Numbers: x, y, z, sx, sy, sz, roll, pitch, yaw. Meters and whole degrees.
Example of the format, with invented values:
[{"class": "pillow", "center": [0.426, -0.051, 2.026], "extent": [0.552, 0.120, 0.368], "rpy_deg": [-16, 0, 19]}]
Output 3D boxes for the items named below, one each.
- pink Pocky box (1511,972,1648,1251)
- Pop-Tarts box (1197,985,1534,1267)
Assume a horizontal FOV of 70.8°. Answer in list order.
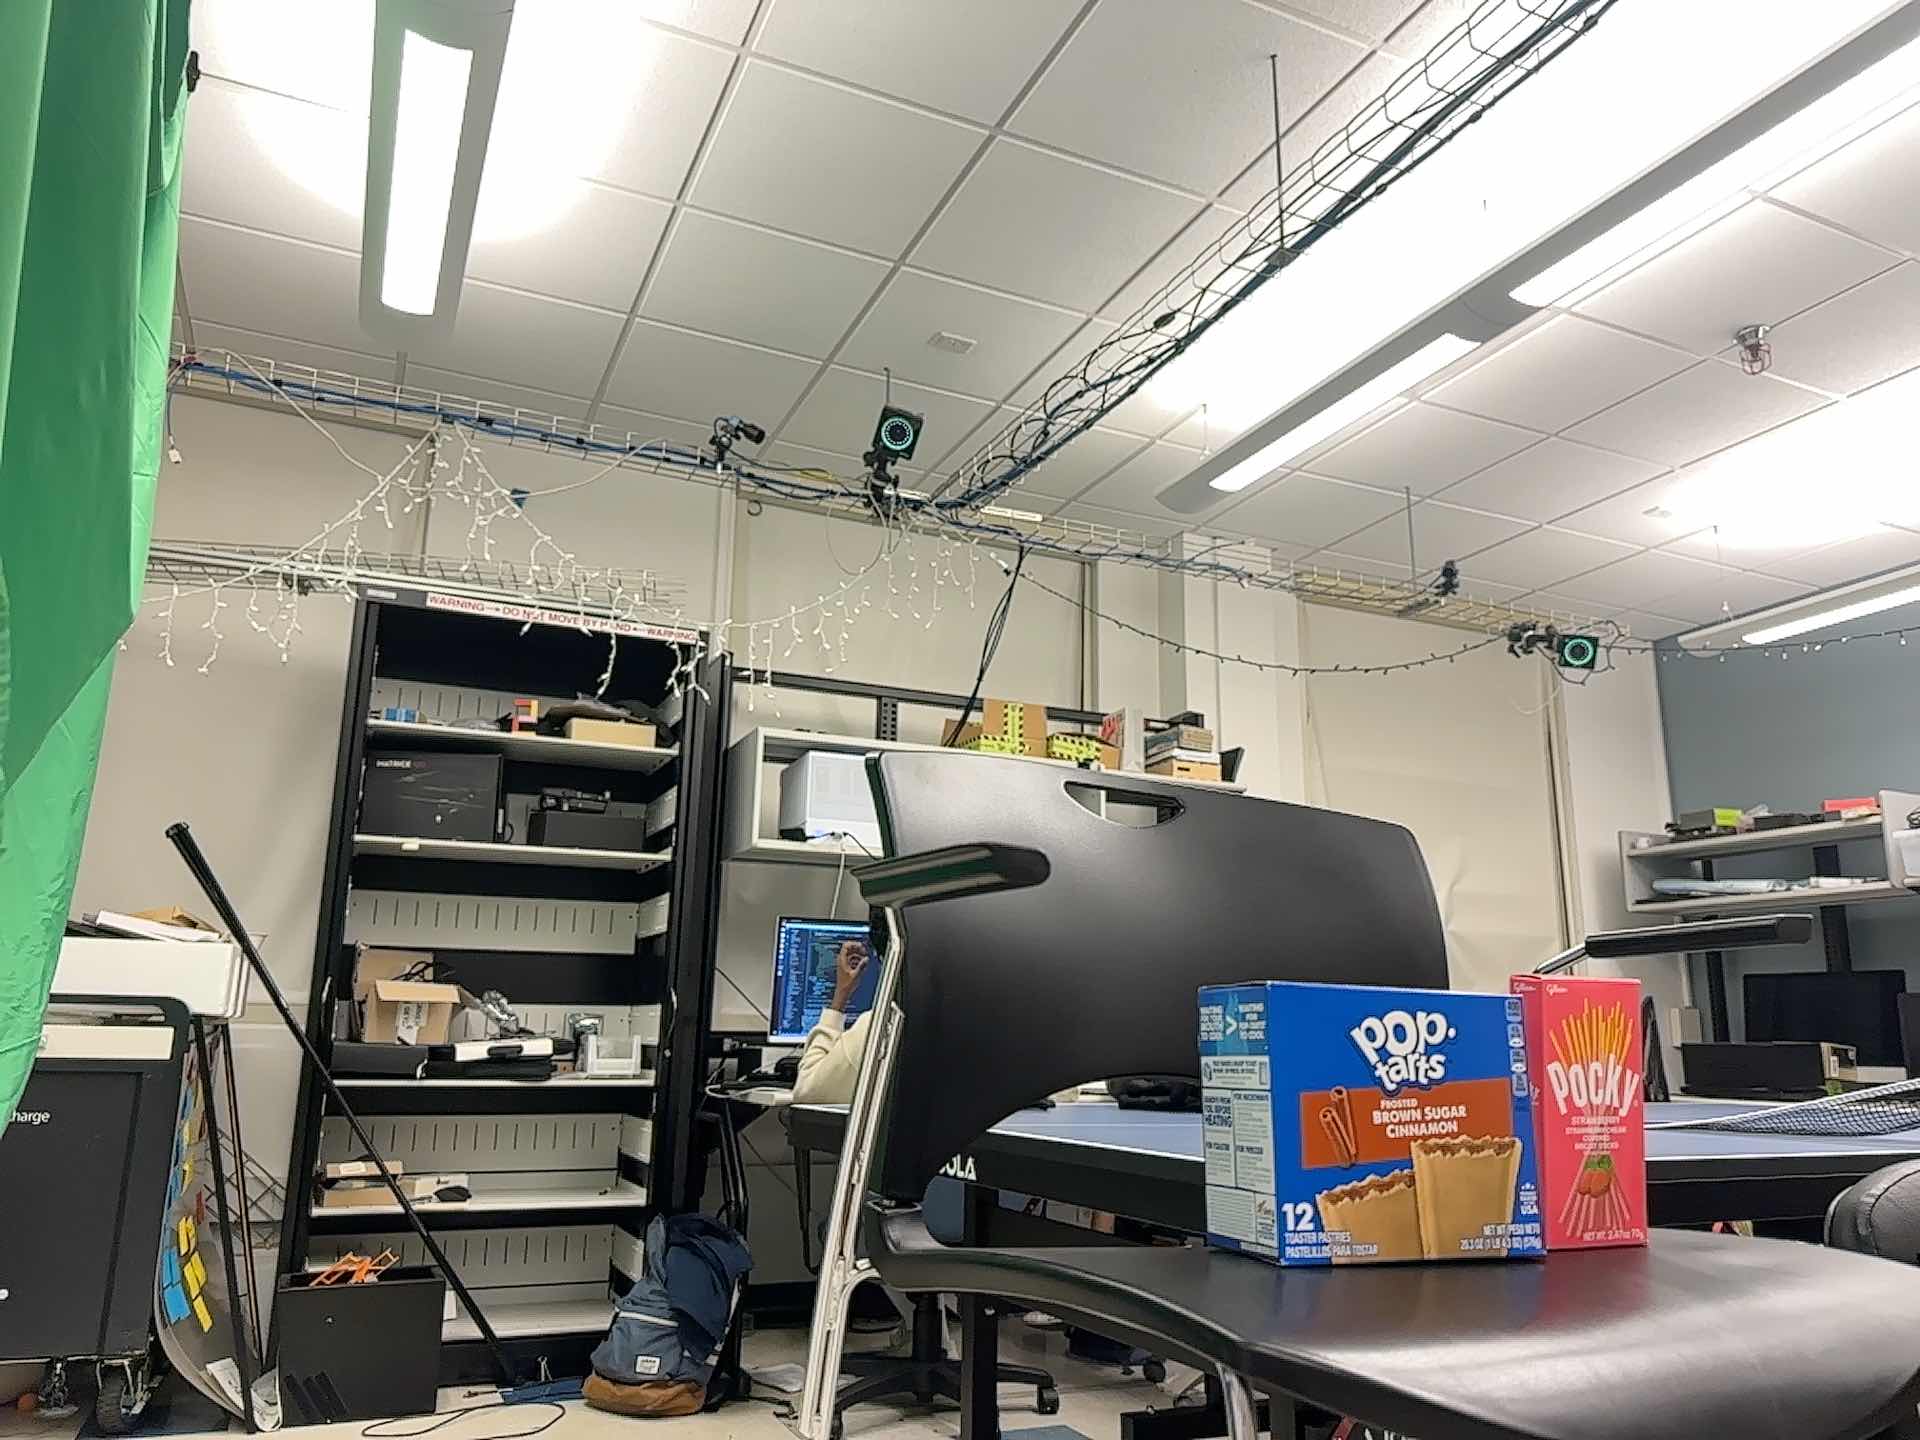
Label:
[{"class": "pink Pocky box", "center": [0.365, 0.227, 0.796], "extent": [0.084, 0.155, 0.029], "rpy_deg": [7, -10, -28]}, {"class": "Pop-Tarts box", "center": [0.226, 0.224, 0.759], "extent": [0.161, 0.135, 0.075], "rpy_deg": [7, -15, -24]}]
